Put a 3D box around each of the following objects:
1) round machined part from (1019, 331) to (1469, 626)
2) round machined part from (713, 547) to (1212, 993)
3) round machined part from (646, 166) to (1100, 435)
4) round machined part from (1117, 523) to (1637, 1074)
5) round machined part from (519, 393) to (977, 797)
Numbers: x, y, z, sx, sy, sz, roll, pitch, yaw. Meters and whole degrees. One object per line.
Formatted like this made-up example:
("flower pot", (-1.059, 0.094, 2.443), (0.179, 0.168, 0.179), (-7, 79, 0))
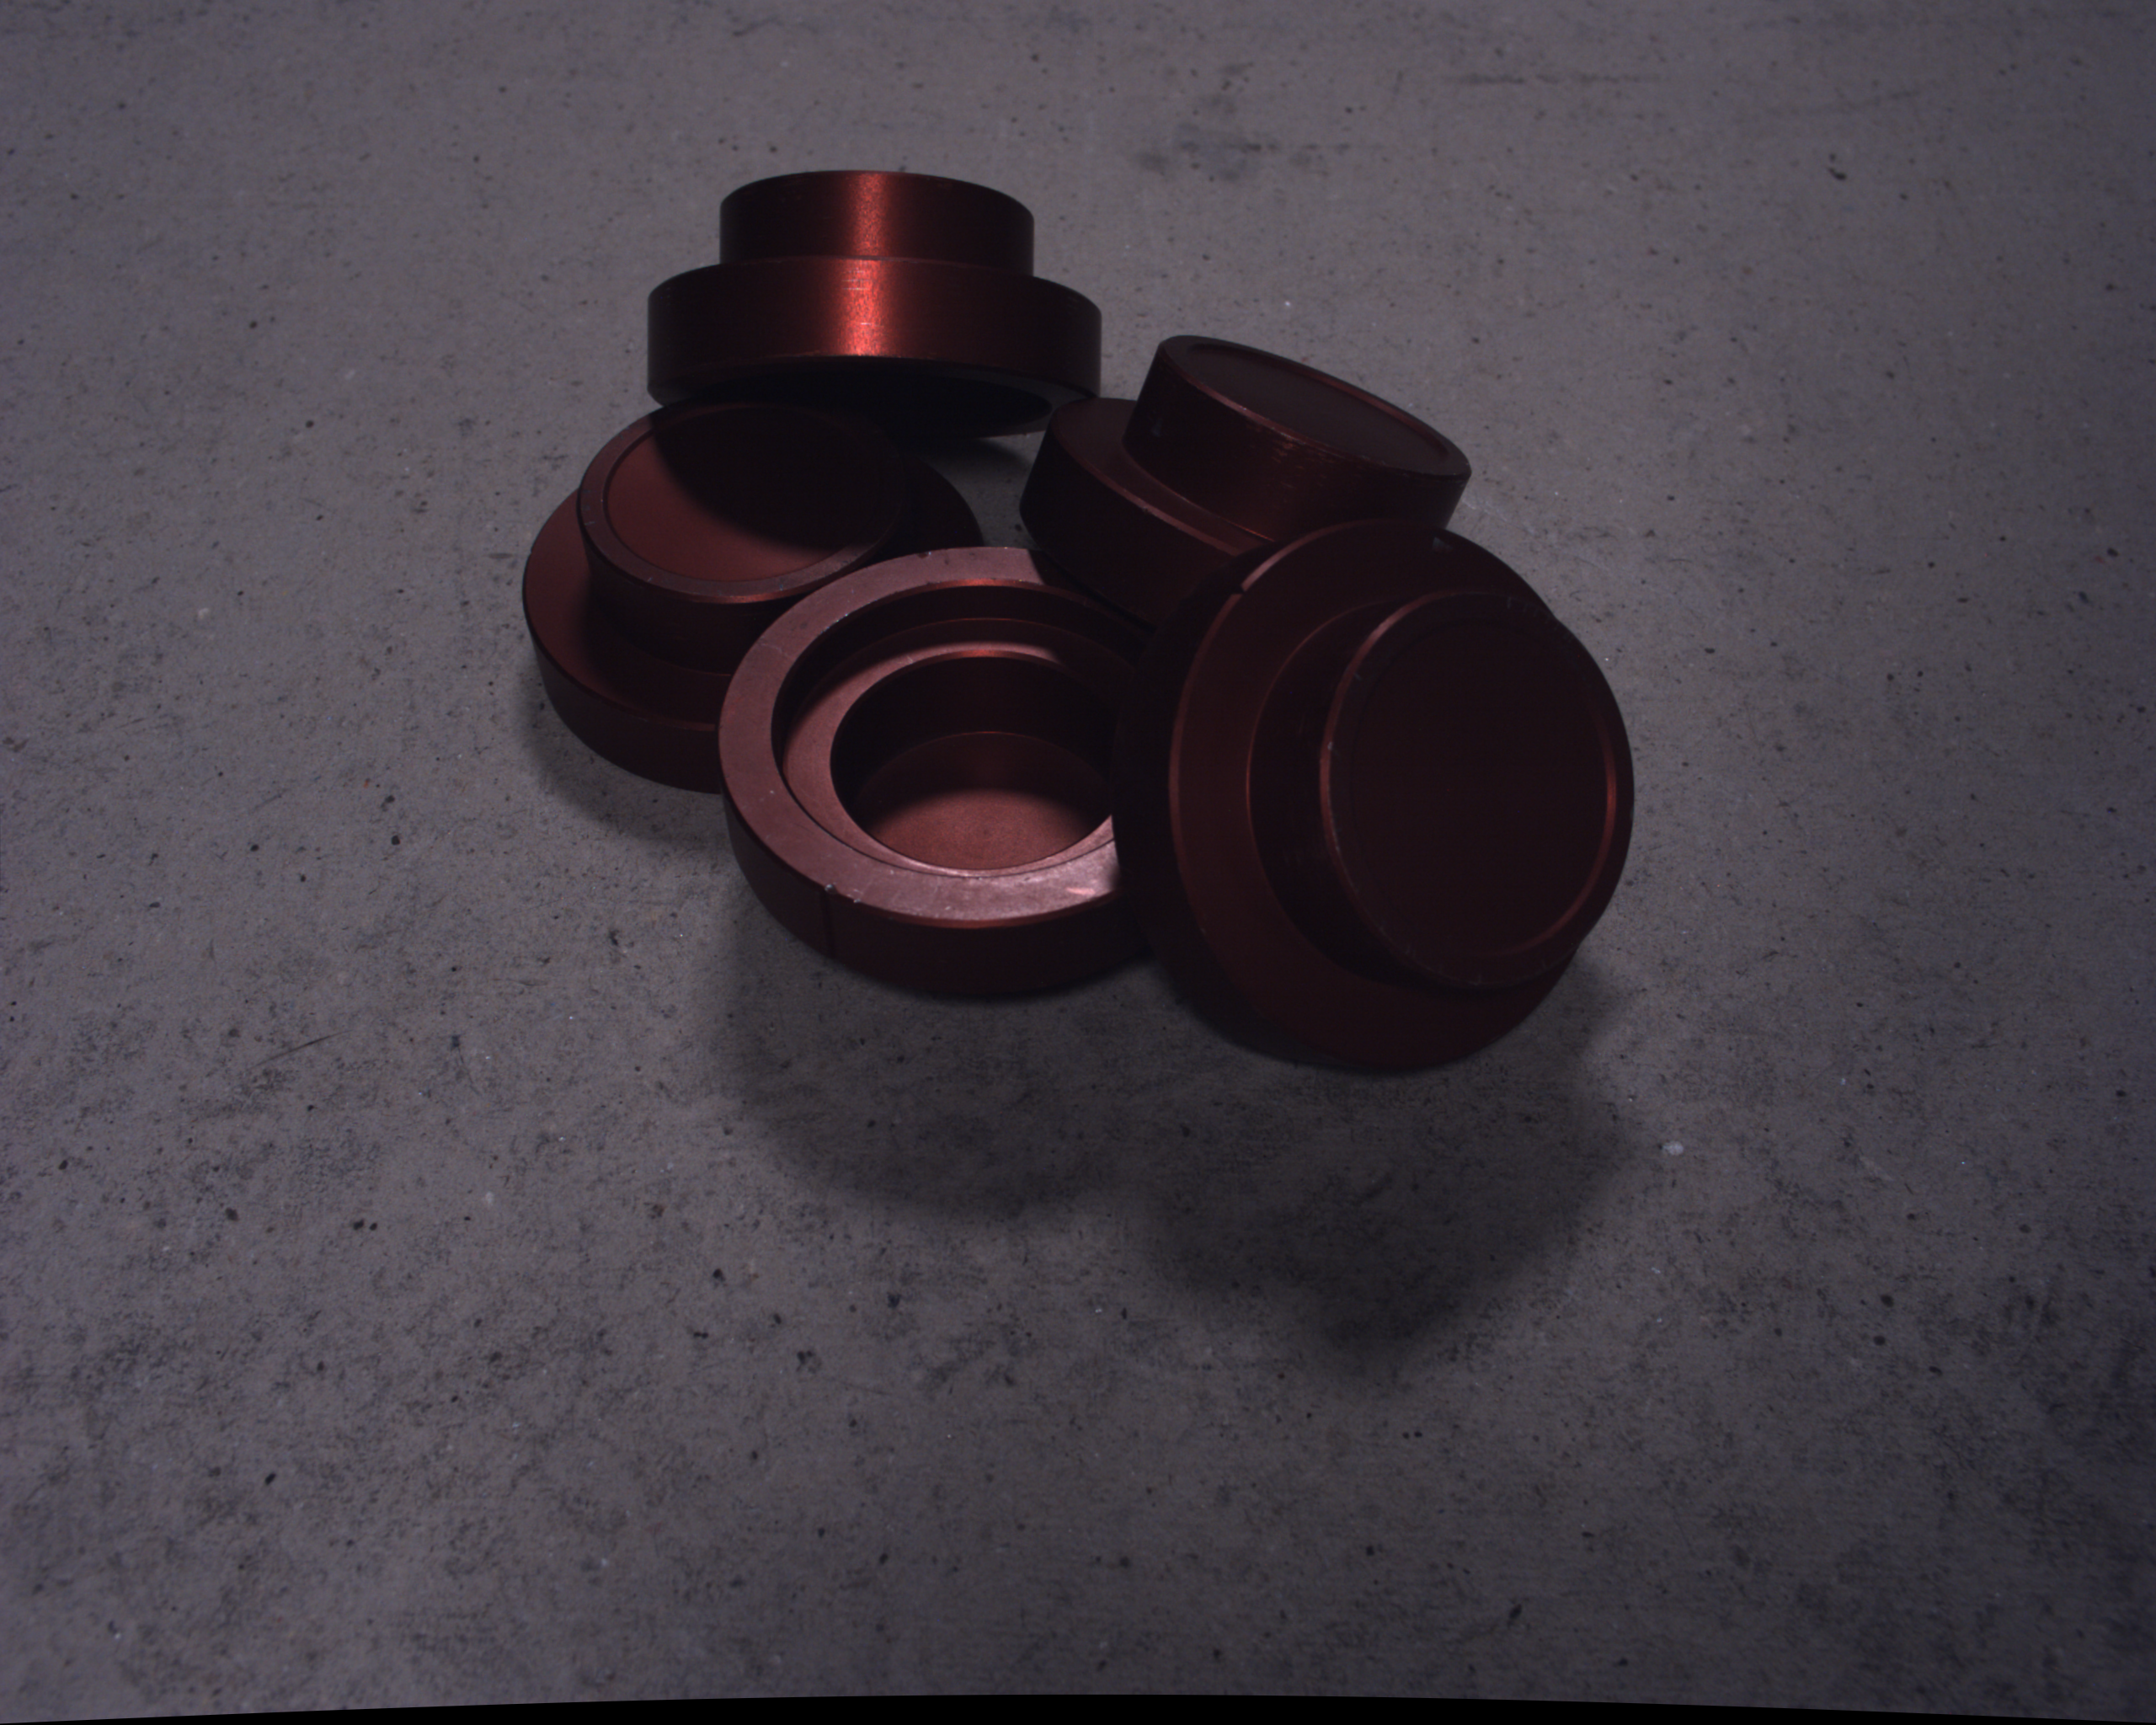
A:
("round machined part", (0.041, -0.076, 0.430), (0.099, 0.042, 0.098), (19, 25, -9))
("round machined part", (-0.018, -0.014, 0.405), (0.099, 0.042, 0.098), (0, 50, 0))
("round machined part", (-0.044, -0.122, 0.458), (0.099, 0.098, 0.042), (1, 92, 0))
("round machined part", (0.059, -0.011, 0.368), (0.099, 0.098, 0.042), (-36, 18, -26))
("round machined part", (-0.070, -0.063, 0.448), (0.099, 0.042, 0.098), (0, 50, 0))
